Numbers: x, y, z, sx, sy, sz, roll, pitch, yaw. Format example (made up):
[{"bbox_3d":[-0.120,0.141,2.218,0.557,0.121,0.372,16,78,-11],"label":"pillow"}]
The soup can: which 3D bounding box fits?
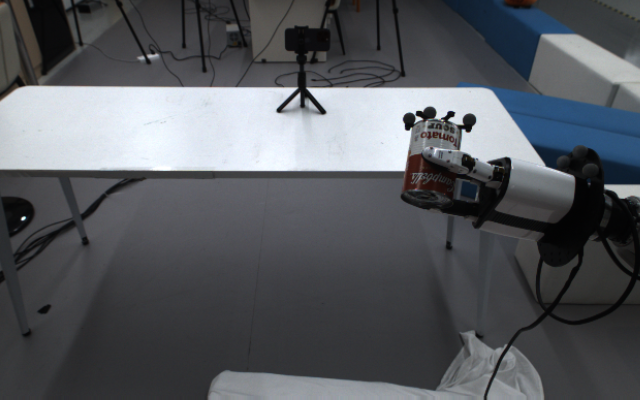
[{"bbox_3d":[0.149,-0.049,0.638,0.067,0.067,0.101,9,74,9],"label":"soup can"}]
